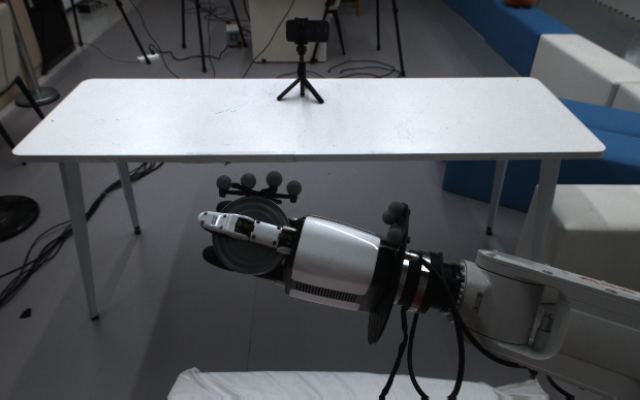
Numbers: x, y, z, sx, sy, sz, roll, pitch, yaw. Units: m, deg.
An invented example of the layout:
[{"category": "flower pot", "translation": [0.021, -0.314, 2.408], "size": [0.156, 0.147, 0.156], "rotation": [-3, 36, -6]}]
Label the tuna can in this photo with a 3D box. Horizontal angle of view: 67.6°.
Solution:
[{"category": "tuna can", "translation": [-0.072, 0.040, 0.536], "size": [0.085, 0.034, 0.085], "rotation": [0, 76, 0]}]
